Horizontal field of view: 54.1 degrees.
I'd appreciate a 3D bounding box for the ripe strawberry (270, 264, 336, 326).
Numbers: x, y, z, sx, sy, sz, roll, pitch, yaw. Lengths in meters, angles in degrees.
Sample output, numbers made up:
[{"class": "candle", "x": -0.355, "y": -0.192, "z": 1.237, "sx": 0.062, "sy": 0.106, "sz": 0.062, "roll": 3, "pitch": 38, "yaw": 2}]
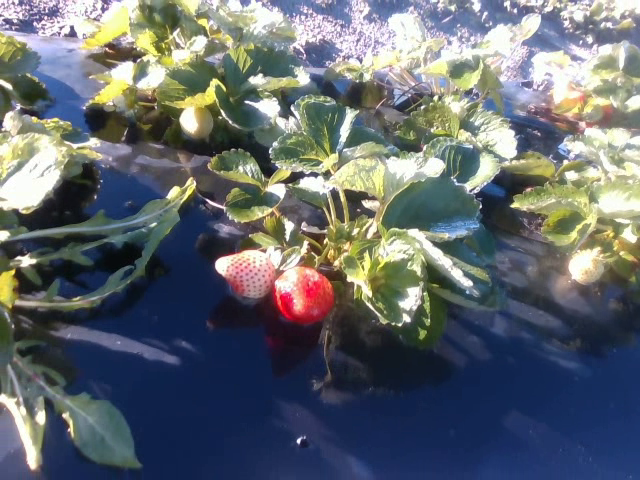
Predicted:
[{"class": "ripe strawberry", "x": -0.009, "y": 0.033, "z": 0.355, "sx": 0.040, "sy": 0.038, "sz": 0.055, "roll": -14, "pitch": -6, "yaw": 5}]
